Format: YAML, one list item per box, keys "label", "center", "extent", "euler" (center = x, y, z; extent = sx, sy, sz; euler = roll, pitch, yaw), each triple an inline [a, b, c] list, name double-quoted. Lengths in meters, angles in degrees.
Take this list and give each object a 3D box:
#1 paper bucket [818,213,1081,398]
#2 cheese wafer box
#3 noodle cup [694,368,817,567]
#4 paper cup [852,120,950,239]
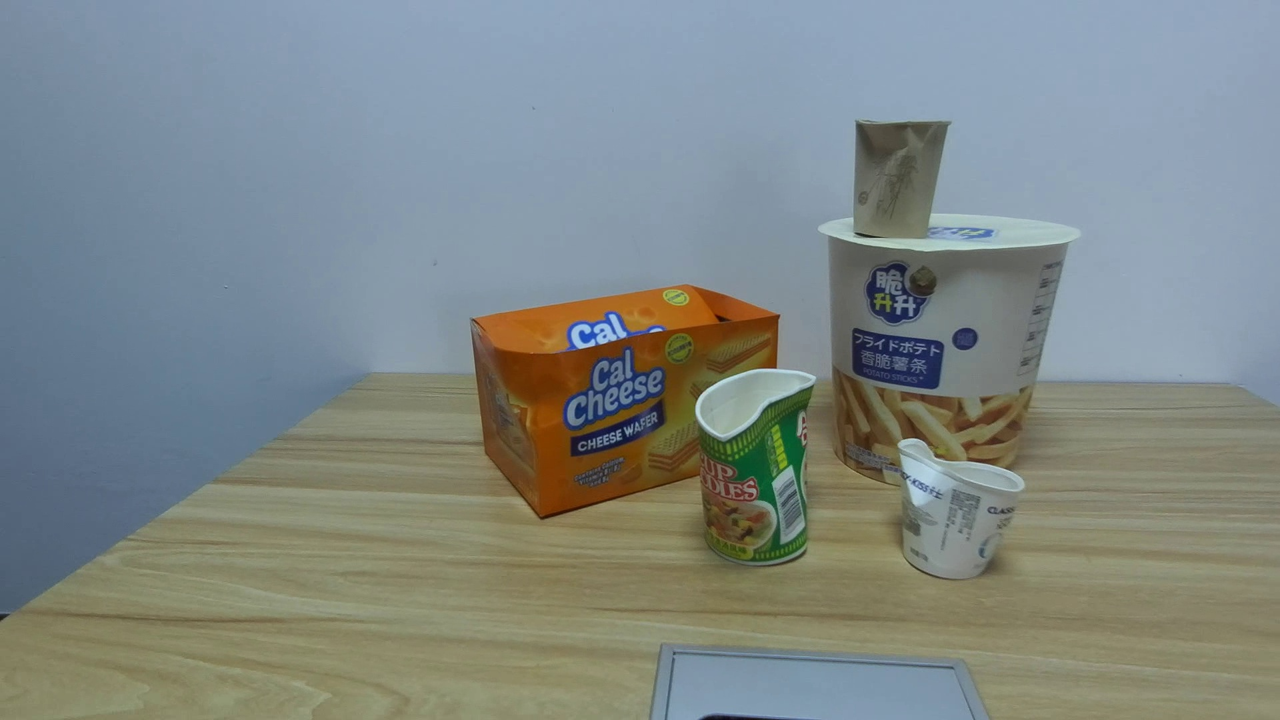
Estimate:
- label: "paper bucket"
  center: [0.238, -0.012, 0.584]
  extent: [0.198, 0.194, 0.198]
  euler: [-1, 19, 1]
- label: "cheese wafer box"
  center: [-0.014, 0.025, 0.604]
  extent: [0.231, 0.132, 0.151]
  euler: [-10, 21, -27]
- label: "noodle cup"
  center: [0.079, 0.070, 0.468]
  extent: [0.115, 0.111, 0.070]
  euler: [-13, 22, -29]
- label: "paper cup"
  center: [0.195, -0.135, 0.525]
  extent: [0.072, 0.084, 0.066]
  euler: [-5, 18, -22]
